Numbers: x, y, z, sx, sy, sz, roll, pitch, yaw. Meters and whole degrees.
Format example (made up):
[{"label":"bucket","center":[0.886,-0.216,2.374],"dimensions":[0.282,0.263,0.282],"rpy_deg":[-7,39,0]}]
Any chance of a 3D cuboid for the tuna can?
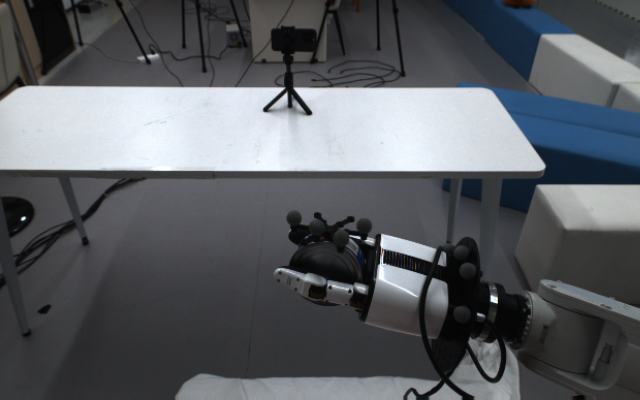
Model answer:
[{"label":"tuna can","center":[0.011,0.078,0.563],"dimensions":[0.085,0.085,0.034],"rpy_deg":[9,23,10]}]
